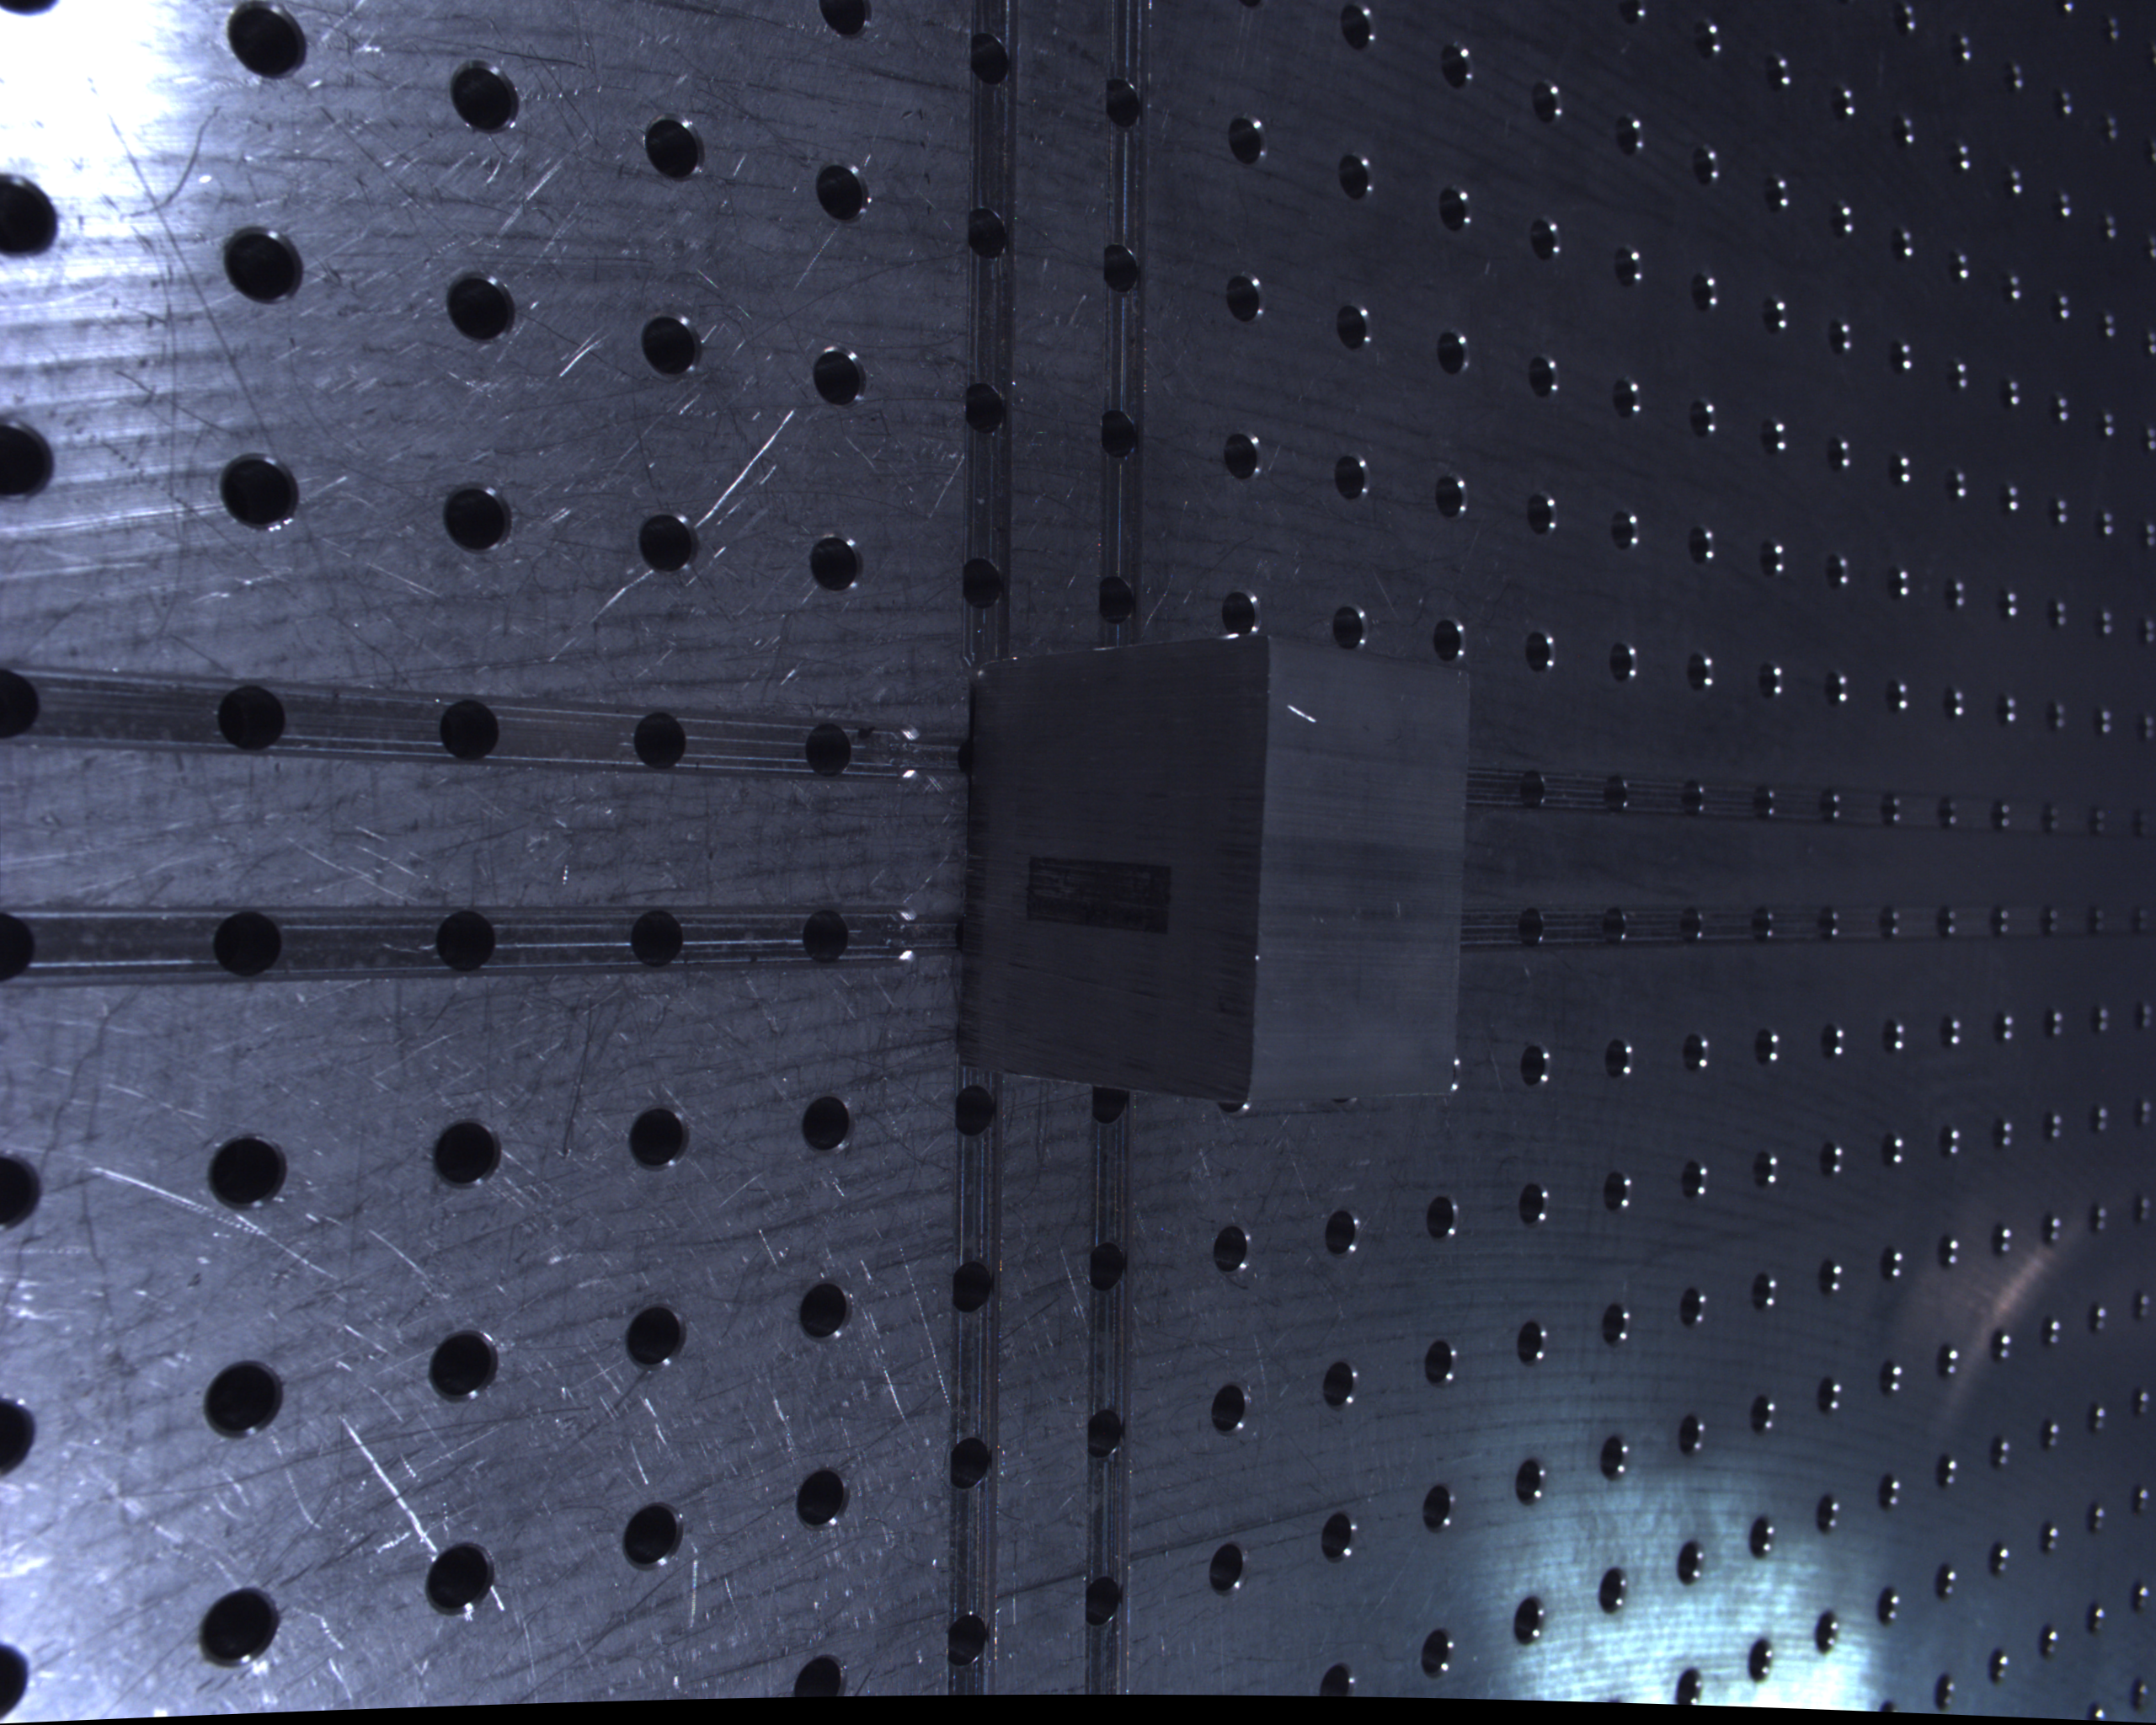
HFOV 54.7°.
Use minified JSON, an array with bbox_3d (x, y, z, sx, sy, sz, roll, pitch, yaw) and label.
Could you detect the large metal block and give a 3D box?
[{"bbox_3d":[0.025,0.002,0.395,0.050,0.080,0.080,4,87,-40],"label":"large metal block"}]
